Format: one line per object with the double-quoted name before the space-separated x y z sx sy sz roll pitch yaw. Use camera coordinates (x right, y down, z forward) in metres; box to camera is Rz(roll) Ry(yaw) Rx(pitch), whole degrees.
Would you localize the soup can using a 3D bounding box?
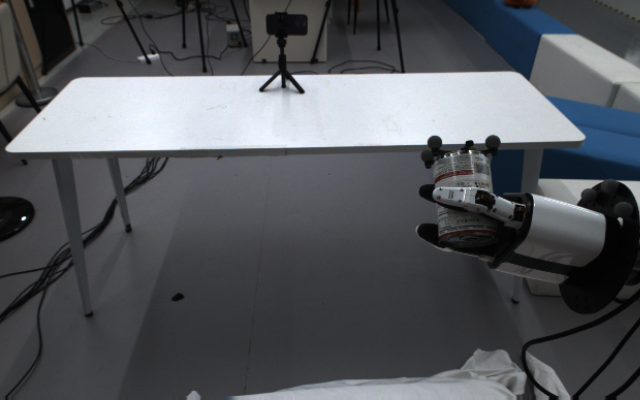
"soup can" 0.173 0.000 0.573 0.067 0.067 0.101 1 72 -2
